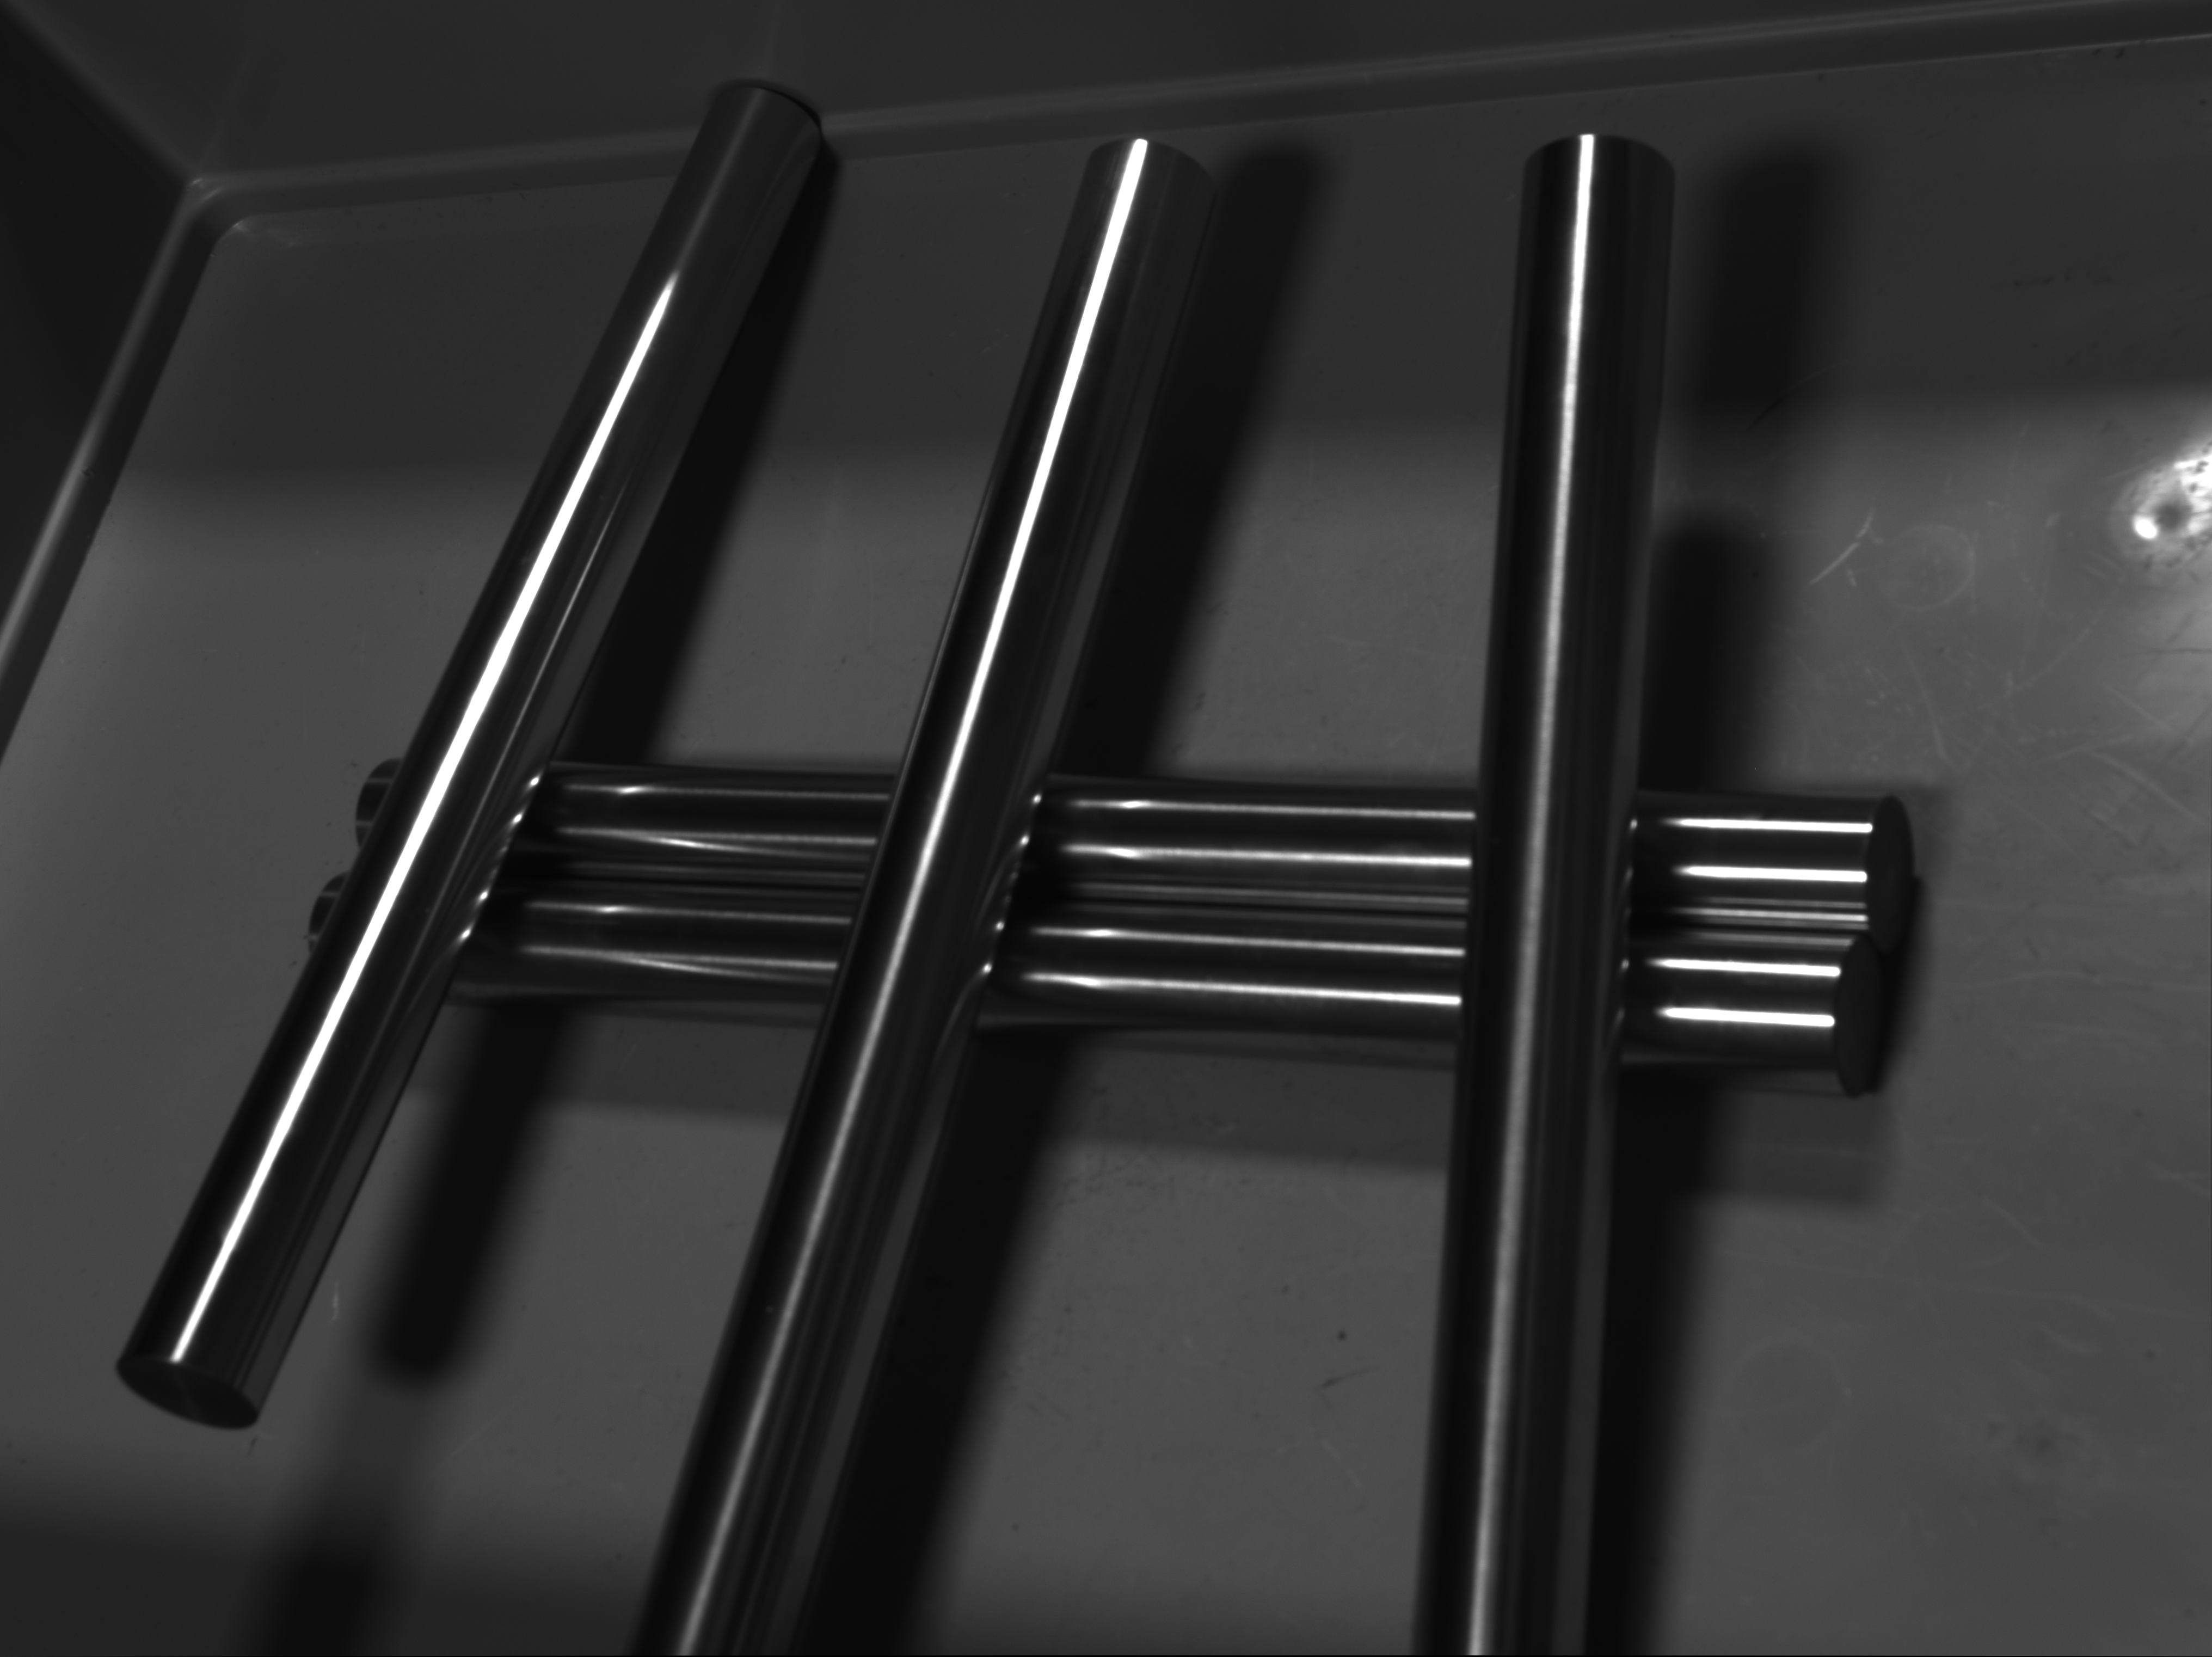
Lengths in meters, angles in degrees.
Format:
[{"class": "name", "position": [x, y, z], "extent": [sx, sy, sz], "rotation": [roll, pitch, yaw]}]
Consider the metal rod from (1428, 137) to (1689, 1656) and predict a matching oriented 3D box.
[{"class": "metal rod", "position": [0.068, 0.032, 0.557], "extent": [0.025, 0.025, 0.300], "rotation": [-4, 68, 26]}]

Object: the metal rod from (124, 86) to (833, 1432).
[{"class": "metal rod", "position": [-0.110, -0.026, 0.688], "extent": [0.025, 0.025, 0.300], "rotation": [-1, 53, 28]}]

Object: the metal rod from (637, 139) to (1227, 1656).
[{"class": "metal rod", "position": [-0.027, 0.012, 0.618], "extent": [0.025, 0.025, 0.300], "rotation": [1, 62, 29]}]

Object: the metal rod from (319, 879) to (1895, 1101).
[{"class": "metal rod", "position": [-0.013, 0.025, 0.635], "extent": [0.299, 0.025, 0.025], "rotation": [2, 62, 29]}]

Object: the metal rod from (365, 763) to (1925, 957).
[{"class": "metal rod", "position": [-0.006, 0.004, 0.645], "extent": [0.299, 0.025, 0.025], "rotation": [2, 62, 29]}]
